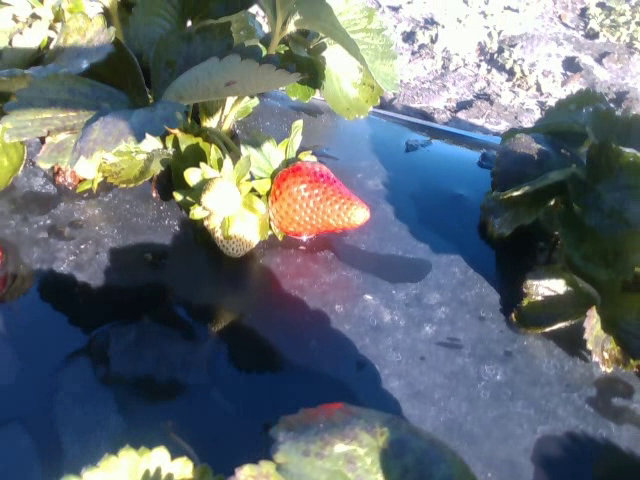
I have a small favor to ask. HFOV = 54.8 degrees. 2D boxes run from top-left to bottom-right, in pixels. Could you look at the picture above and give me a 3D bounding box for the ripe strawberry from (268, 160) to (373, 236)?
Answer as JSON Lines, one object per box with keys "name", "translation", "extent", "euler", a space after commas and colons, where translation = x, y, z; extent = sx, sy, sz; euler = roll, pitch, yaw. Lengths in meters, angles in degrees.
{"name": "ripe strawberry", "translation": [0.002, -0.018, 0.323], "extent": [0.064, 0.050, 0.052], "euler": [18, -15, 26]}
